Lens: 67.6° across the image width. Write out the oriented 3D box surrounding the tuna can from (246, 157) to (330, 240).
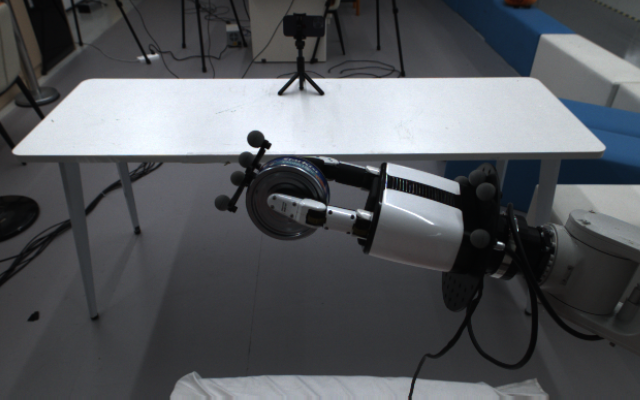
[{"bbox_3d":[-0.029,0.002,0.507,0.085,0.085,0.034,3,20,2],"label":"tuna can"}]
